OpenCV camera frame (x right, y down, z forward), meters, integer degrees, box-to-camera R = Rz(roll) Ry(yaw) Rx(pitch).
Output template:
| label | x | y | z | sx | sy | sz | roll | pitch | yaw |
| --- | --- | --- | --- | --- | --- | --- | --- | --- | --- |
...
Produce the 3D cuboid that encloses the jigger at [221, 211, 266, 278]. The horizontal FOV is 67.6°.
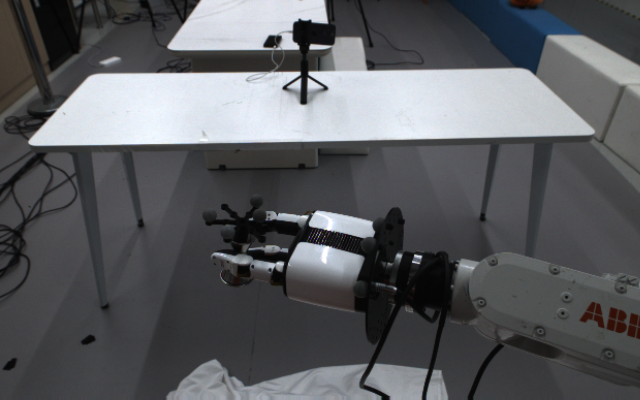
| label | x | y | z | sx | sy | sz | roll | pitch | yaw |
| --- | --- | --- | --- | --- | --- | --- | --- | --- | --- |
| jigger | -0.103 | 0.072 | 0.619 | 0.043 | 0.071 | 0.043 | 9 | 30 | -5 |
